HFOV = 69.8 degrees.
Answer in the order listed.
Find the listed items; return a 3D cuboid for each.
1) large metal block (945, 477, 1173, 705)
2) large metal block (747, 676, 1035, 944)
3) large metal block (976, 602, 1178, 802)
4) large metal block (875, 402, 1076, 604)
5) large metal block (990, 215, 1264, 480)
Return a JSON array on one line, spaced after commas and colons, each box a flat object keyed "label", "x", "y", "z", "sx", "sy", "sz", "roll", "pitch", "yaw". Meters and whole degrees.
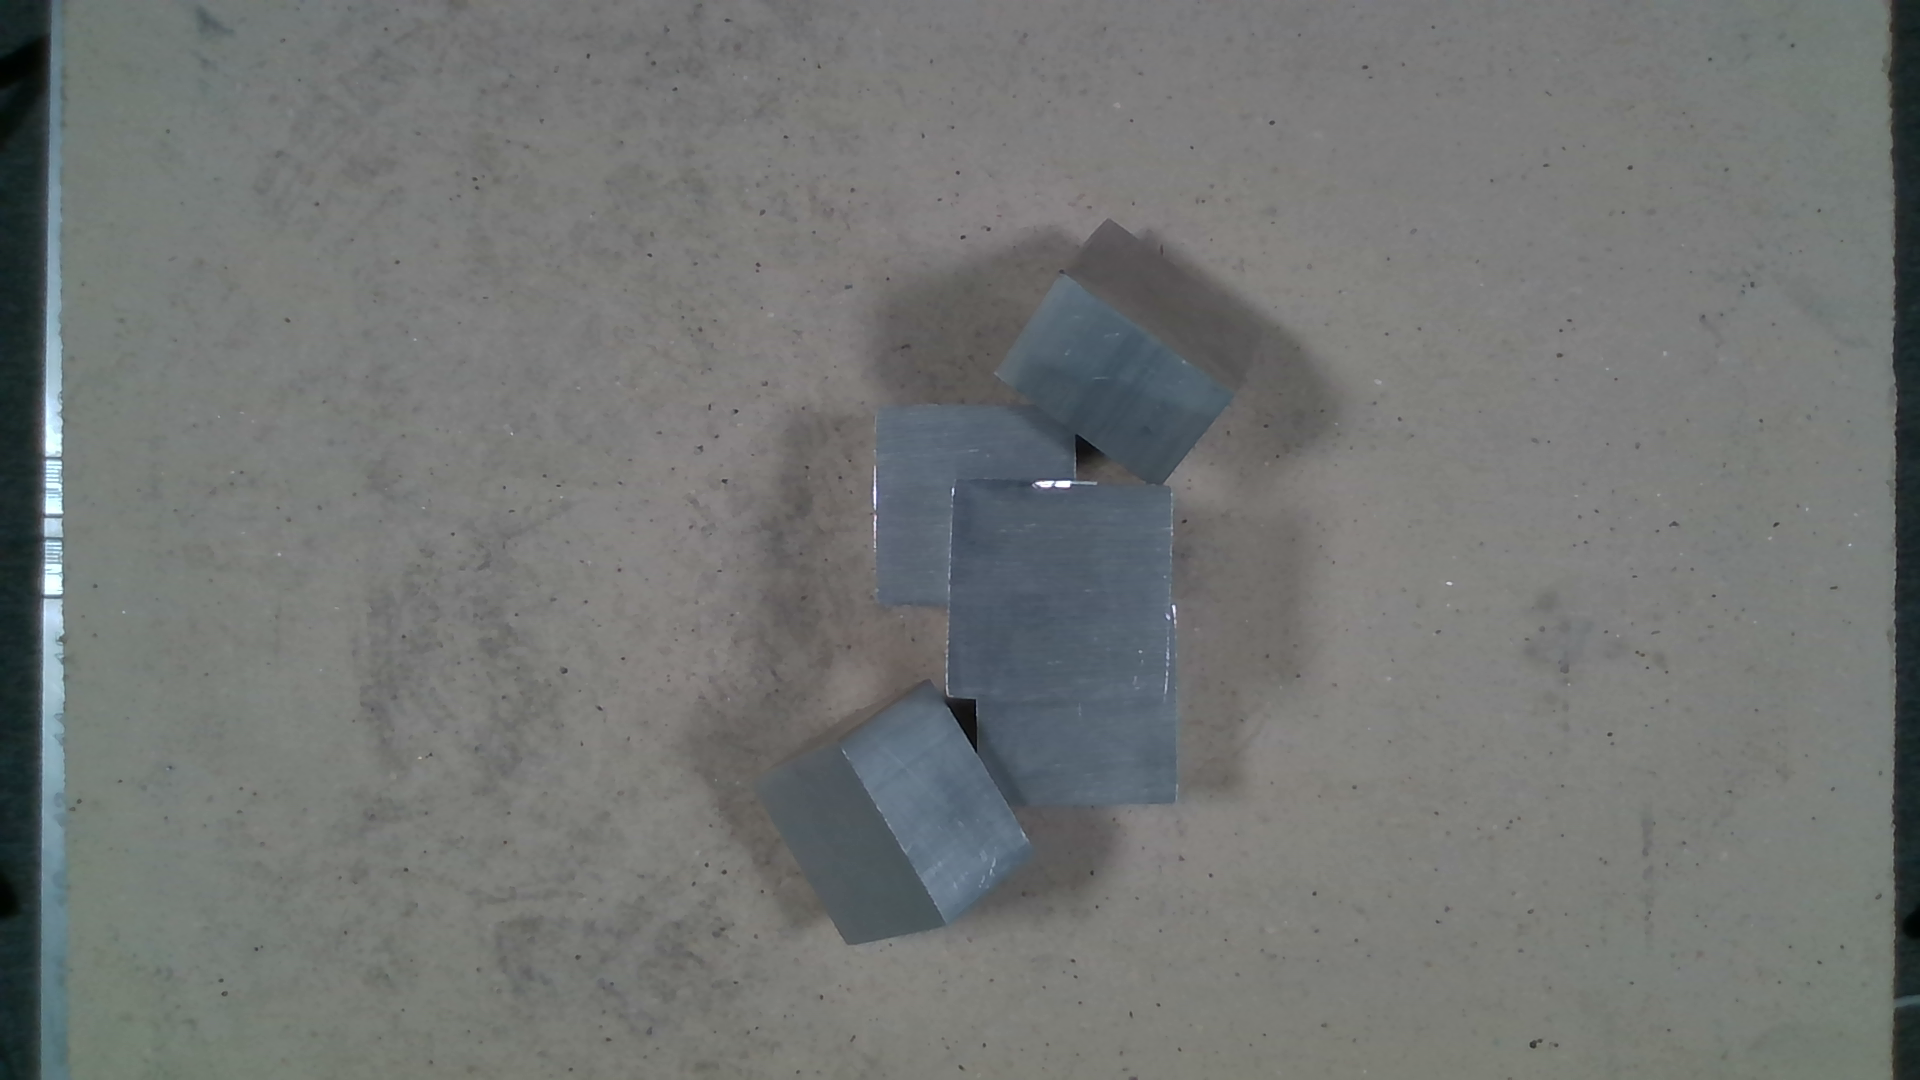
[{"label": "large metal block", "x": 0.036, "y": 0.018, "z": 0.523, "sx": 0.080, "sy": 0.050, "sz": 0.080, "roll": 2, "pitch": 90, "yaw": 0}, {"label": "large metal block", "x": -0.029, "y": 0.110, "z": 0.554, "sx": 0.050, "sy": 0.080, "sz": 0.080, "roll": -32, "pitch": 91, "yaw": -38}, {"label": "large metal block", "x": 0.047, "y": 0.065, "z": 0.576, "sx": 0.080, "sy": 0.050, "sz": 0.080, "roll": 0, "pitch": 90, "yaw": 0}, {"label": "large metal block", "x": 0.006, "y": -0.015, "z": 0.572, "sx": 0.080, "sy": 0.050, "sz": 0.080, "roll": 0, "pitch": 90, "yaw": 0}, {"label": "large metal block", "x": 0.069, "y": -0.077, "z": 0.552, "sx": 0.080, "sy": 0.080, "sz": 0.050, "roll": 36, "pitch": 123, "yaw": 0}]
